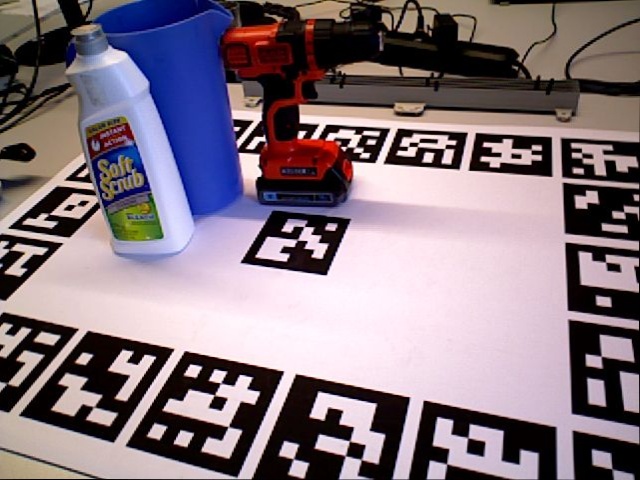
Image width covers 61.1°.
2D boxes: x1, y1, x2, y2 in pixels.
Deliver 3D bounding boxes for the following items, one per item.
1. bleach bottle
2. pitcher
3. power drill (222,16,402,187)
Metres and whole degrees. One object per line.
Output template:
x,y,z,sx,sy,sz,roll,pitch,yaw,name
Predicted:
-0.215,-0.112,0.550,0.103,0.255,0.066,1,42,11,bleach bottle
-0.175,-0.161,0.630,0.188,0.247,0.131,-12,42,-3,pitcher
-0.009,-0.149,0.599,0.184,0.191,0.056,7,45,9,power drill
